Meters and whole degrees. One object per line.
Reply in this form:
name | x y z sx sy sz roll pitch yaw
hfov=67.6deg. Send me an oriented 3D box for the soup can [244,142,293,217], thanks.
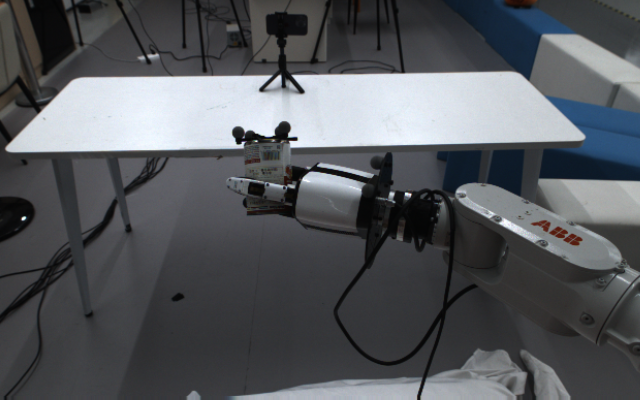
soup can | -0.071 -0.030 0.679 0.067 0.101 0.067 -3 -1 0
